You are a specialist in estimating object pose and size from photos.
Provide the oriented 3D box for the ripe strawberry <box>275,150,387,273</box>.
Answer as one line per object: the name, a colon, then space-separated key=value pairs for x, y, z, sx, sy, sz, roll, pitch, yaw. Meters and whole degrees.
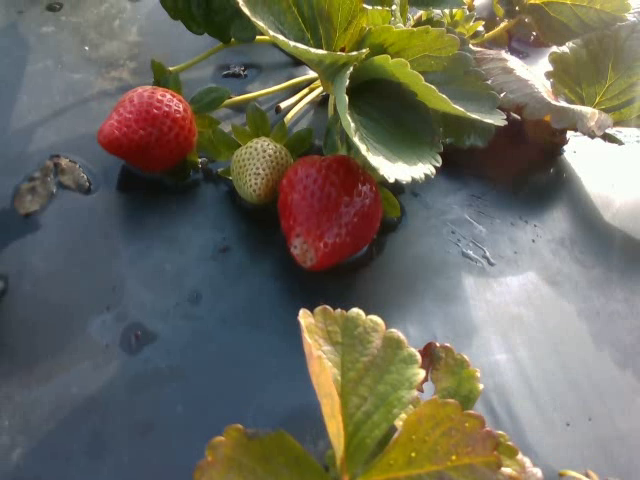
ripe strawberry: x=0.001 y=-0.010 z=0.254 sx=0.048 sy=0.065 sz=0.050 roll=-13 pitch=-44 yaw=39
